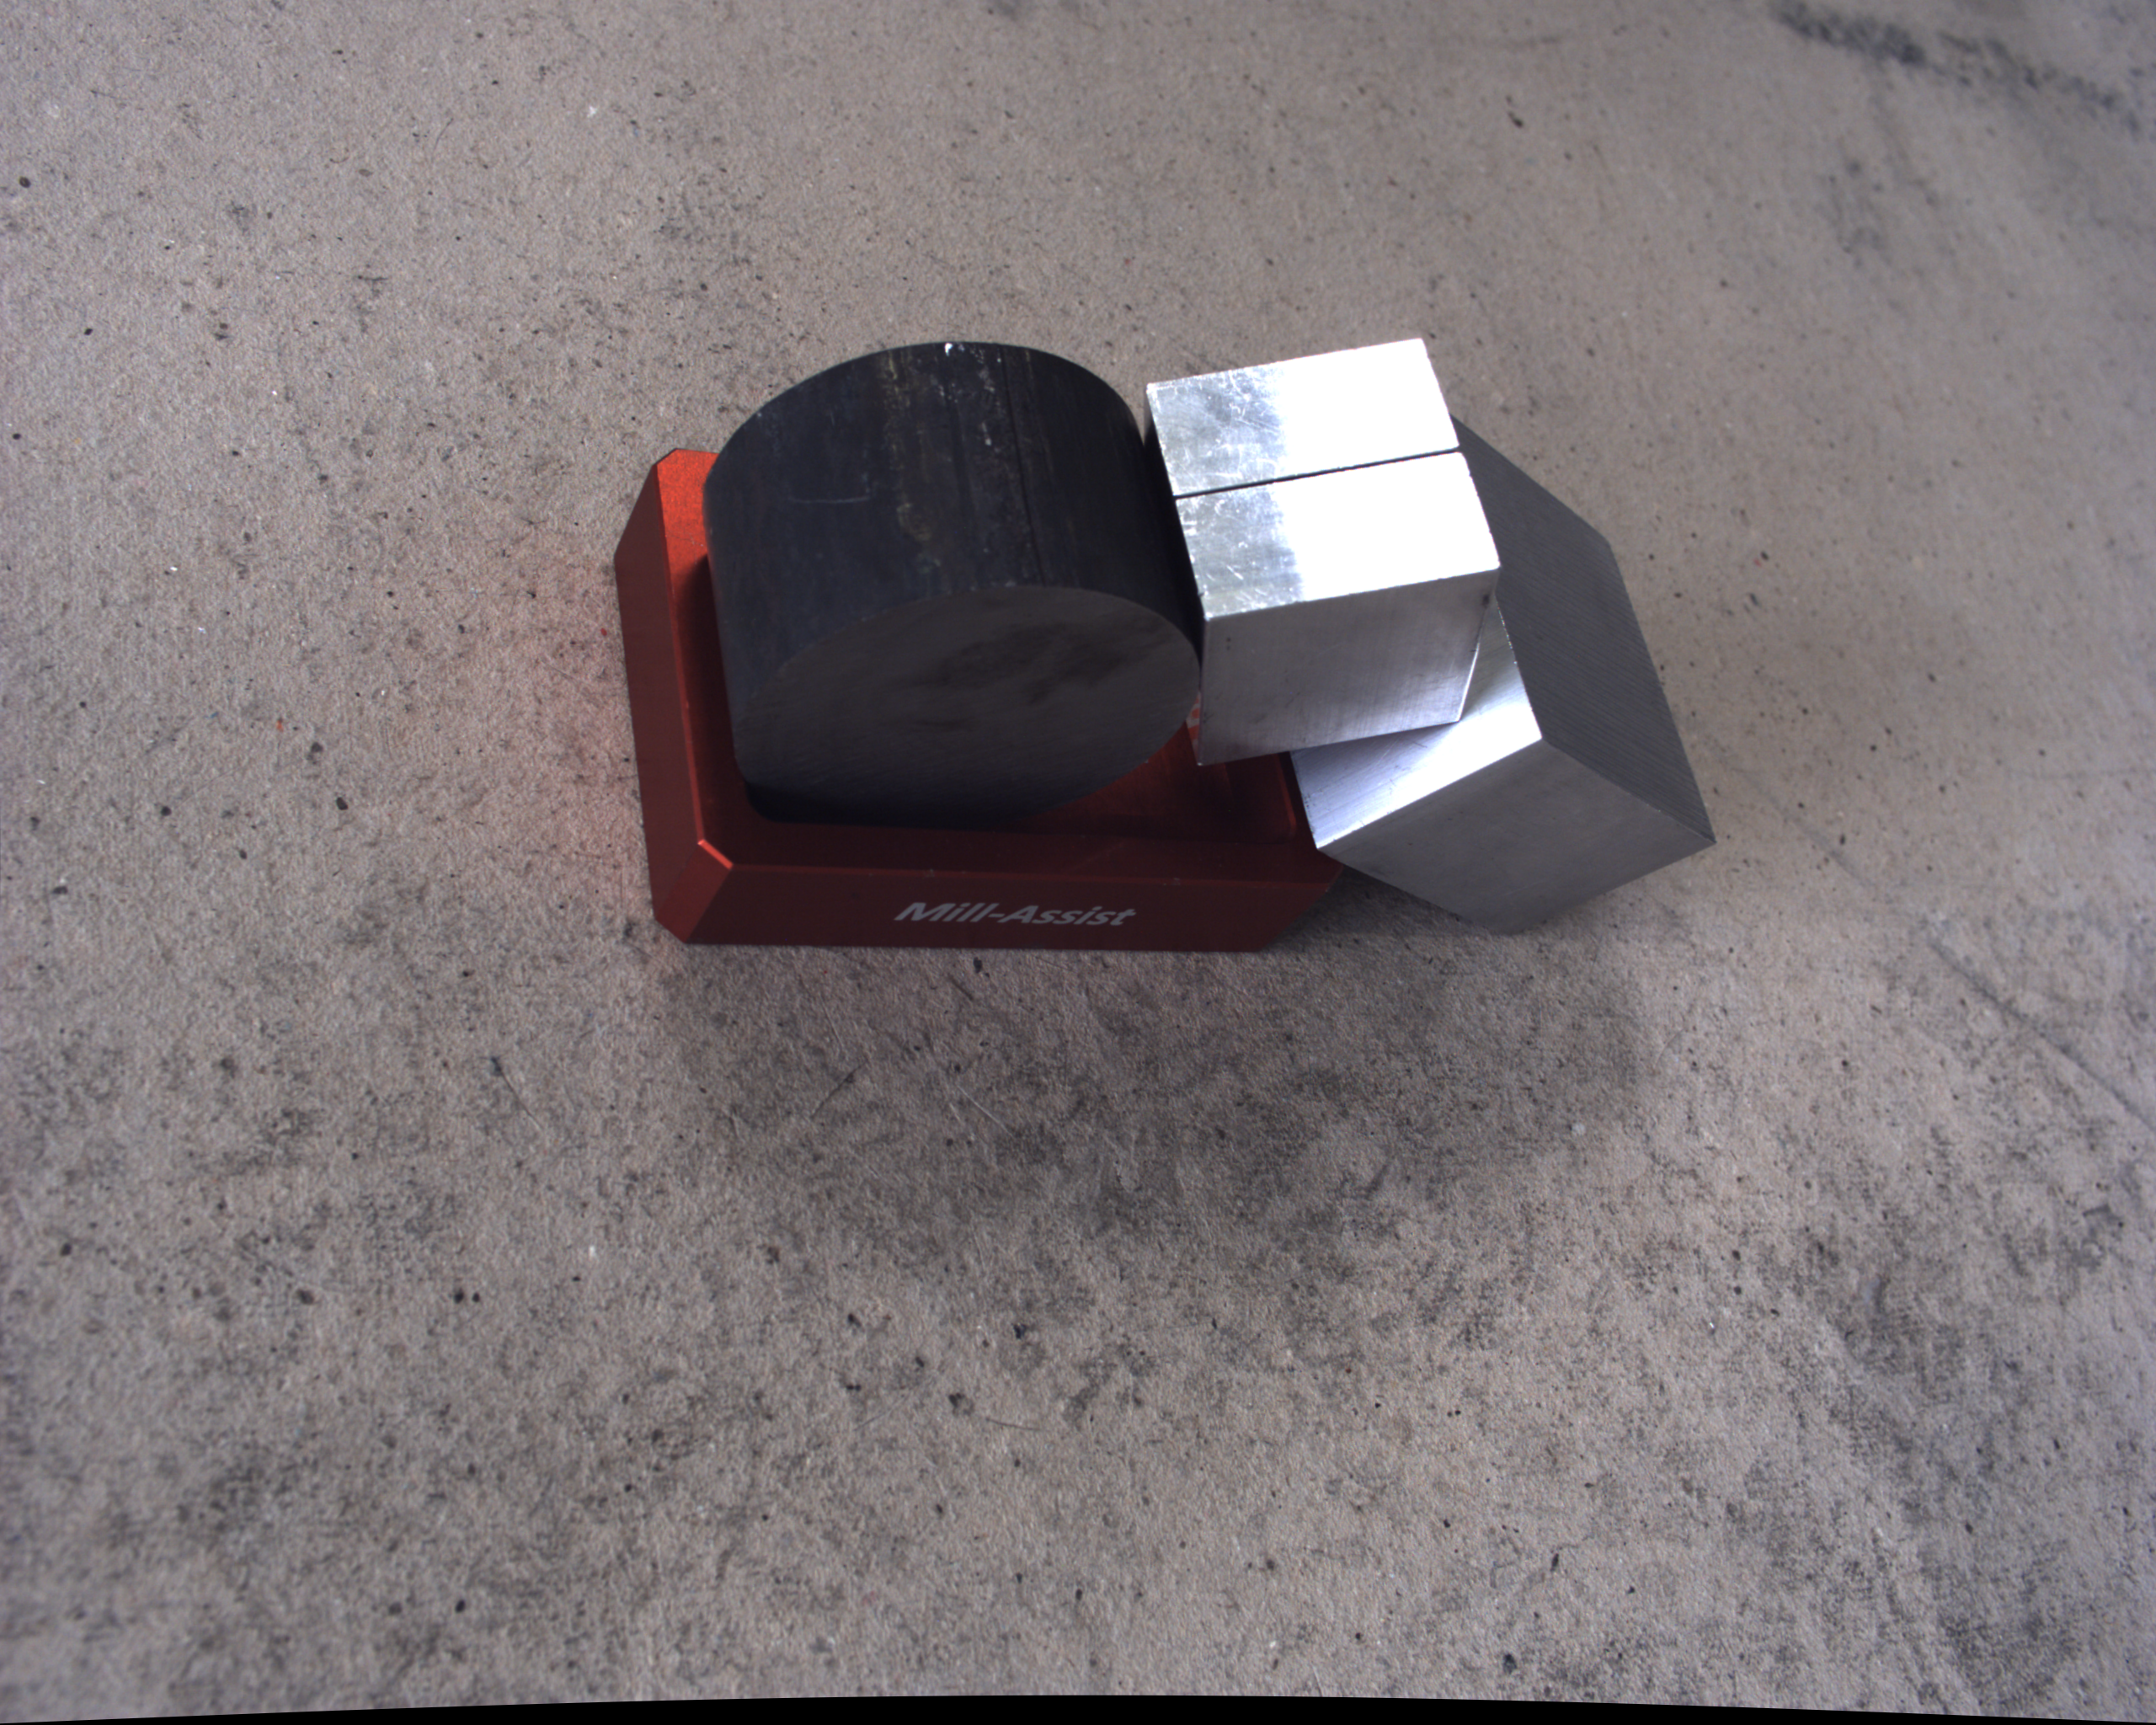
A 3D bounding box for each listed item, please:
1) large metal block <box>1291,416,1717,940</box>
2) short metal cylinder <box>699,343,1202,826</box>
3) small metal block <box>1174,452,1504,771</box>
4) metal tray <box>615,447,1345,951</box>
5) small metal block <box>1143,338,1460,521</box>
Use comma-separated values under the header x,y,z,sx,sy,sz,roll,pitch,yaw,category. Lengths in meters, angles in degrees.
x,y,z,sx,sy,sz,roll,pitch,yaw,category
0.083,-0.038,0.438,0.080,0.050,0.080,22,49,-48,large metal block
-0.023,-0.046,0.369,0.081,0.080,0.050,1,62,-28,short metal cylinder
0.044,-0.044,0.372,0.050,0.050,0.025,-11,63,-4,small metal block
-0.019,-0.030,0.410,0.131,0.030,0.090,2,61,-27,metal tray
0.039,-0.066,0.383,0.050,0.050,0.025,-11,63,-4,small metal block
